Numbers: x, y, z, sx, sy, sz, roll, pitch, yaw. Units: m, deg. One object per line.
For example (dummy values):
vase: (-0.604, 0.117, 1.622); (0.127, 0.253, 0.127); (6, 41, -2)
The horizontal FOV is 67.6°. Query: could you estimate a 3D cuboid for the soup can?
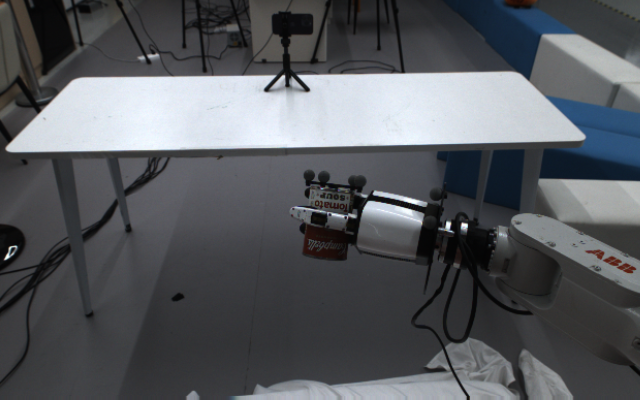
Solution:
soup can: (0.014, 0.033, 0.711); (0.067, 0.101, 0.067); (7, 3, 0)
